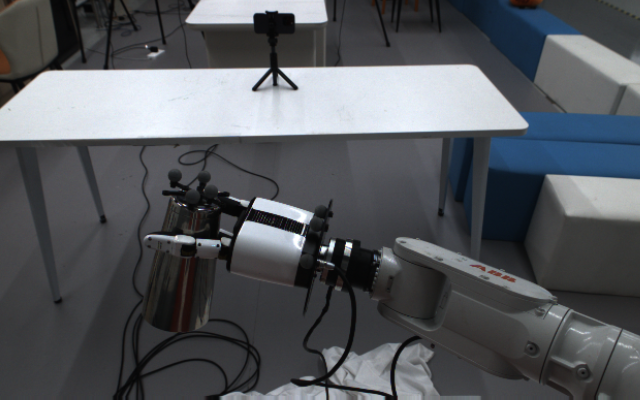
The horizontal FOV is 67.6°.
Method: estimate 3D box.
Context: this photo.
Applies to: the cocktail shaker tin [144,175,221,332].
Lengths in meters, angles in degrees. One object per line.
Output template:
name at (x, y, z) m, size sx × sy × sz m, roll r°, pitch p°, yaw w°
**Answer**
cocktail shaker tin at (-0.177, 0.075, 0.645) m, size 0.093 × 0.170 × 0.093 m, roll 14°, pitch 18°, yaw -5°
